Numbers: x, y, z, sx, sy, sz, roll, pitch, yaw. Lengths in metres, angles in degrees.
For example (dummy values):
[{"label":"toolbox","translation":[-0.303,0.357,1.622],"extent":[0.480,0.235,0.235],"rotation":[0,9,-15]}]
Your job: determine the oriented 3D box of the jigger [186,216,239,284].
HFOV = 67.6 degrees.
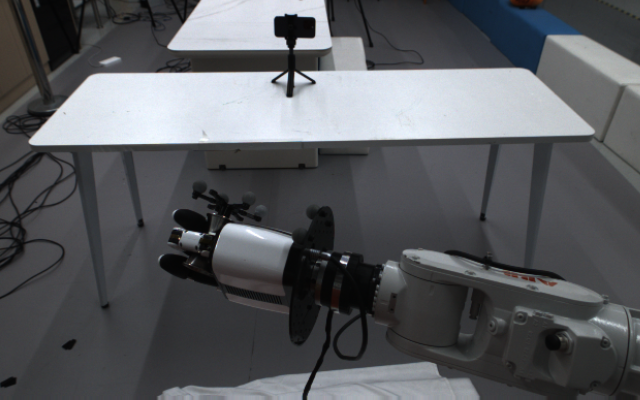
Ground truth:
[{"label":"jigger","translation":[-0.127,0.054,0.581],"extent":[0.043,0.043,0.071],"rotation":[13,70,16]}]
